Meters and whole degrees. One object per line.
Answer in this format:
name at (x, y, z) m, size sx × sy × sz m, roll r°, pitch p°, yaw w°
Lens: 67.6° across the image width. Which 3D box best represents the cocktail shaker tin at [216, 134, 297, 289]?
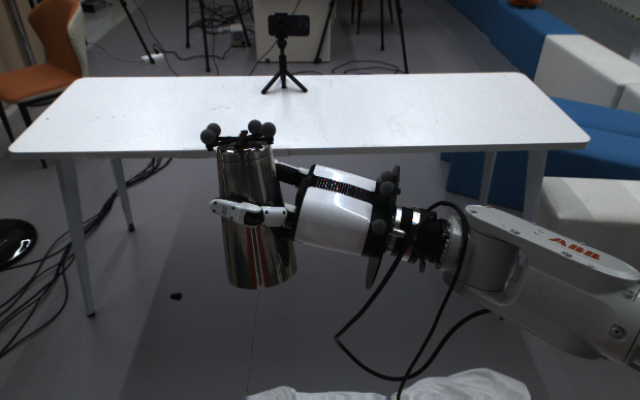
cocktail shaker tin at (-0.083, 0.015, 0.606) m, size 0.093 × 0.170 × 0.093 m, roll -6°, pitch 19°, yaw 2°
